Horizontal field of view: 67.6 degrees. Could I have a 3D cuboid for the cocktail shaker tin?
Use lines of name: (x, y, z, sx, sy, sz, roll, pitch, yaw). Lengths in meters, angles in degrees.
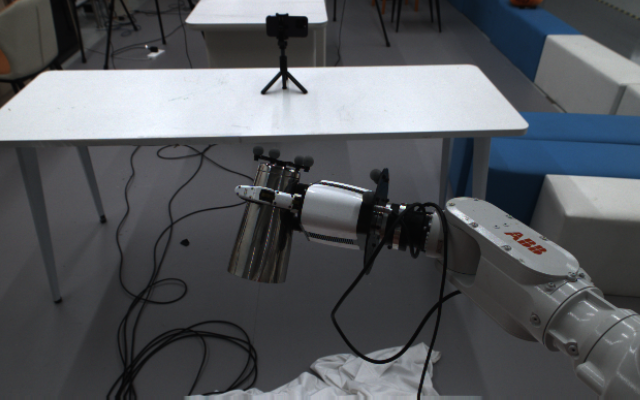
cocktail shaker tin: (-0.077, 0.030, 0.744, 0.093, 0.170, 0.093, 13, 1, 0)
